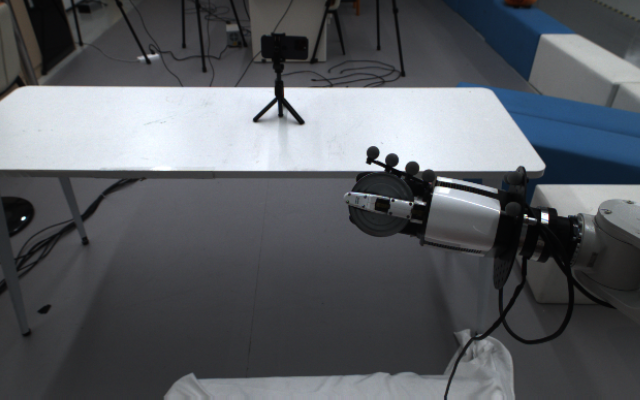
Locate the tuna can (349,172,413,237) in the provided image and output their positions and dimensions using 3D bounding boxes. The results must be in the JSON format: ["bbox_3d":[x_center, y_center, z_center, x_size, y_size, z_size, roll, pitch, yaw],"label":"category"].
[{"bbox_3d":[0.085,0.004,0.646,0.085,0.085,0.034,13,2,16],"label":"tuna can"}]
